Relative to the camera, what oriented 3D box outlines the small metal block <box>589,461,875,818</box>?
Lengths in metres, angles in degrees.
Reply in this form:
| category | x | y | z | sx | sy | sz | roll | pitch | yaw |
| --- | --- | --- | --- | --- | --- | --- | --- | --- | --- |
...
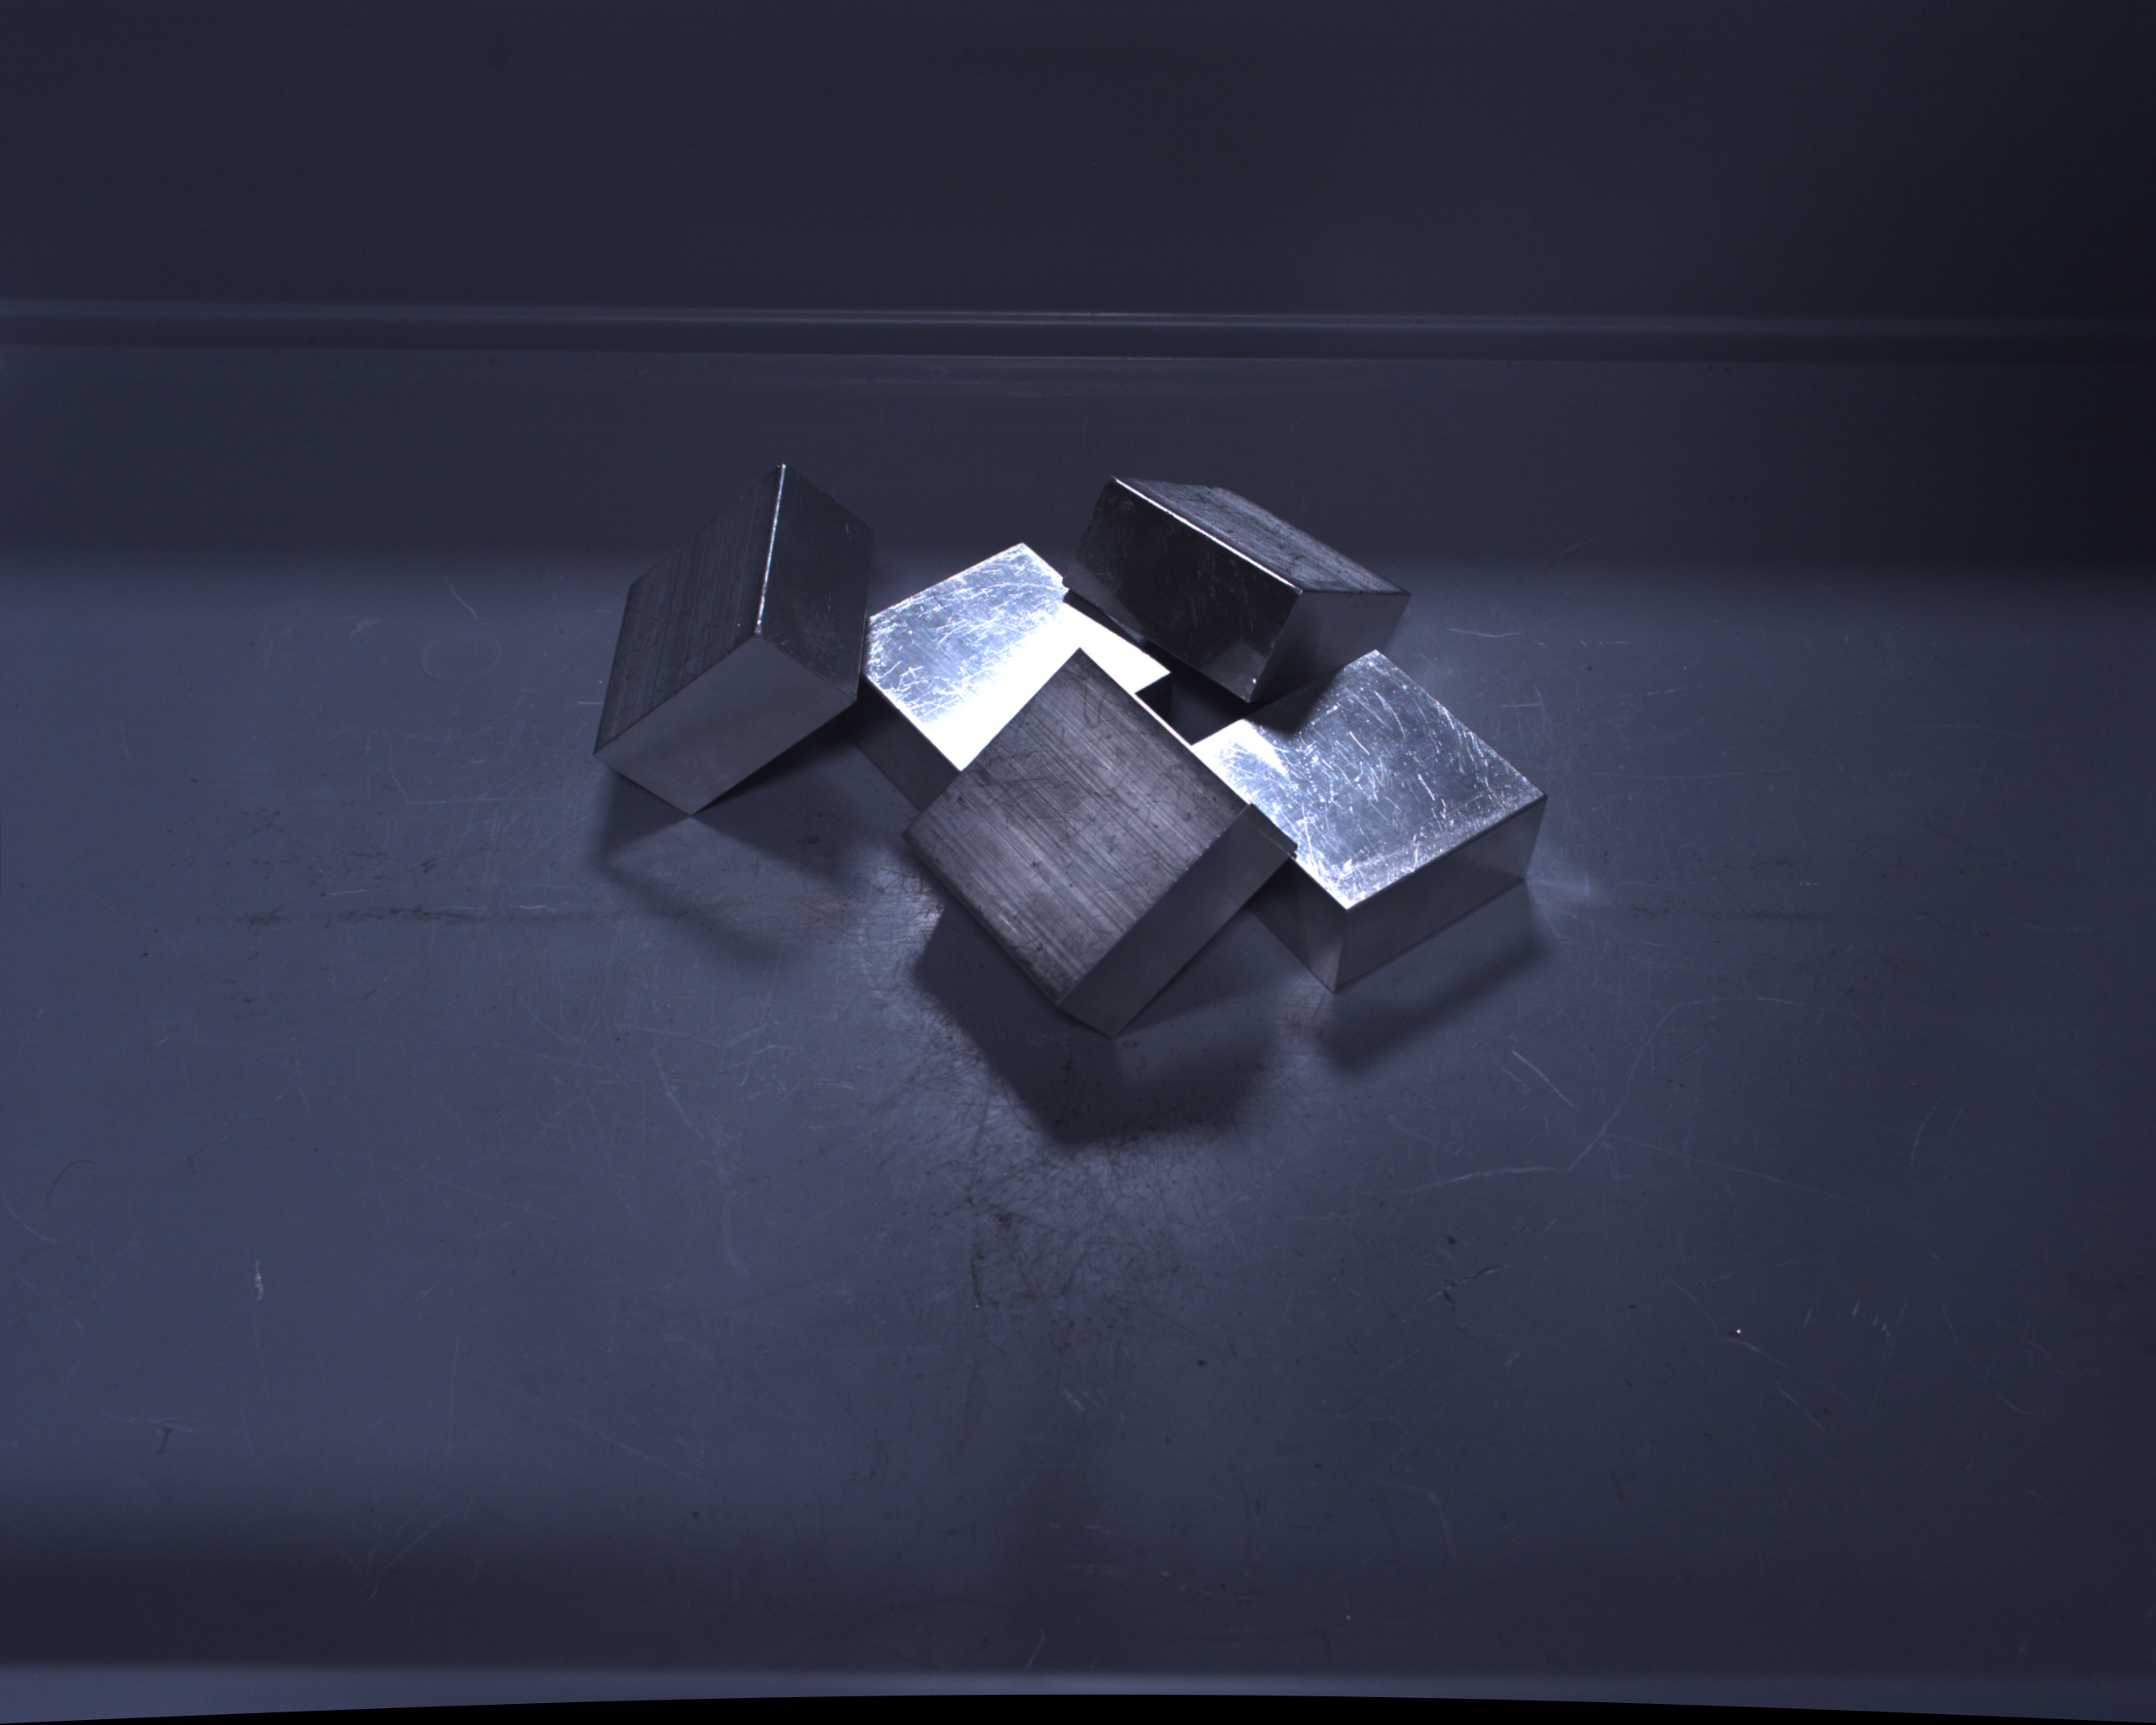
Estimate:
| category | x | y | z | sx | sy | sz | roll | pitch | yaw |
| --- | --- | --- | --- | --- | --- | --- | --- | --- | --- |
| small metal block | -0.069 | -0.045 | 0.422 | 0.050 | 0.025 | 0.050 | -31 | 40 | 32 |

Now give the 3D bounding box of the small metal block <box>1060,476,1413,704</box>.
| category | x | y | z | sx | sy | sz | roll | pitch | yaw |
| --- | --- | --- | --- | --- | --- | --- | --- | --- | --- |
| small metal block | 0.034 | -0.057 | 0.436 | 0.050 | 0.025 | 0.050 | 36 | 24 | 25 |

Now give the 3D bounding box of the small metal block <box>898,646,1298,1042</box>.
| category | x | y | z | sx | sy | sz | roll | pitch | yaw |
| --- | --- | --- | --- | --- | --- | --- | --- | --- | --- |
| small metal block | 0.003 | -0.004 | 0.391 | 0.050 | 0.025 | 0.050 | -47 | 59 | 4 |

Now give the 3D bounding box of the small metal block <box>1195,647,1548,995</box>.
| category | x | y | z | sx | sy | sz | roll | pitch | yaw |
| --- | --- | --- | --- | --- | --- | --- | --- | --- | --- |
| small metal block | 0.055 | -0.009 | 0.411 | 0.050 | 0.025 | 0.050 | -29 | 56 | -23 |

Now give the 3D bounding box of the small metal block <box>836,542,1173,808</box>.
| category | x | y | z | sx | sy | sz | roll | pitch | yaw |
| --- | --- | --- | --- | --- | --- | --- | --- | --- | --- |
| small metal block | -0.016 | -0.034 | 0.431 | 0.050 | 0.025 | 0.050 | -31 | 57 | -24 |
